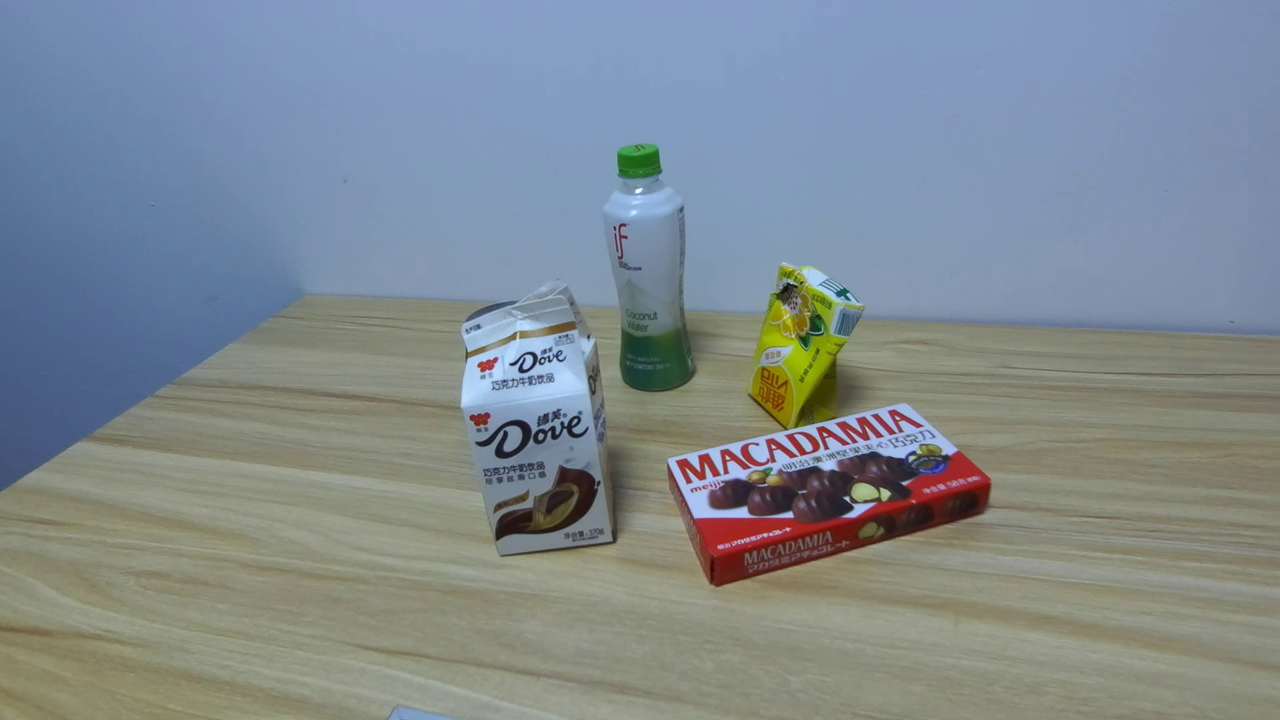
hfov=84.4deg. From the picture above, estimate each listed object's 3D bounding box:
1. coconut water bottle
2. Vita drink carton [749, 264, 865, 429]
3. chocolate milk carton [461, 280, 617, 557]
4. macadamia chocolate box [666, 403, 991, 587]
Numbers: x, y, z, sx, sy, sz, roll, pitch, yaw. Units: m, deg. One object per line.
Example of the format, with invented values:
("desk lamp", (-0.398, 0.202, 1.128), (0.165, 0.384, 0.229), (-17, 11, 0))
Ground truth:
("coconut water bottle", (0.007, -0.070, 0.552), (0.063, 0.189, 0.063), (-5, 27, 3))
("Vita drink carton", (0.121, -0.010, 0.516), (0.042, 0.108, 0.086), (-3, 29, -25))
("chocolate milk carton", (-0.059, 0.032, 0.426), (0.076, 0.156, 0.073), (-7, 29, -1))
("macadamia chocolate box", (0.114, 0.079, 0.446), (0.178, 0.027, 0.095), (-11, 30, -10))
